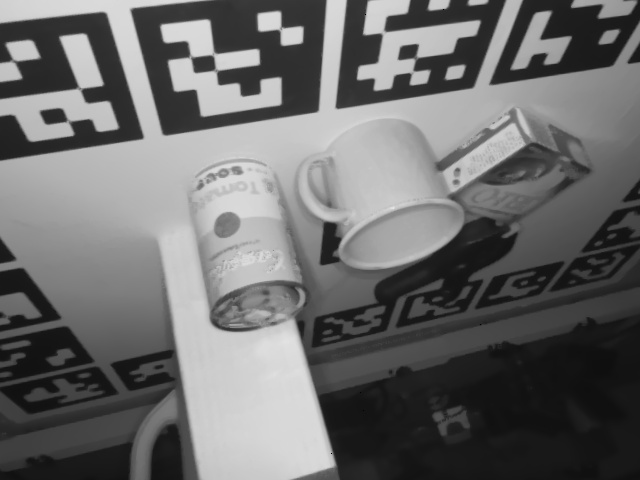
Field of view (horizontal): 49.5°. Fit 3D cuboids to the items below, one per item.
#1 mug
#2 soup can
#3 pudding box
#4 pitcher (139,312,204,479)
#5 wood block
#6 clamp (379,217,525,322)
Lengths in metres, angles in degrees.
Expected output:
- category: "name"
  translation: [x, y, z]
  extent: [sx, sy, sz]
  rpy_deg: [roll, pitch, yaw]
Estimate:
- category: "mug"
  translation: [0.047, -0.039, 0.505]
  extent: [0.119, 0.082, 0.092]
  rpy_deg: [12, 139, -40]
- category: "soup can"
  translation: [-0.041, -0.002, 0.497]
  extent: [0.068, 0.102, 0.067]
  rpy_deg: [-12, 145, -8]
- category: "pudding box"
  translation: [0.178, -0.059, 0.584]
  extent: [0.115, 0.039, 0.088]
  rpy_deg: [14, 133, -41]
- category: "pitcher"
  translation: [-0.071, 0.178, 0.625]
  extent: [0.190, 0.243, 0.132]
  rpy_deg: [-13, 149, -11]
- category: "wood block"
  translation: [-0.048, 0.094, 0.539]
  extent: [0.090, 0.207, 0.090]
  rpy_deg: [-9, 147, -5]
- category: "clamp"
  translation: [0.151, 0.031, 0.714]
  extent: [0.123, 0.037, 0.162]
  rpy_deg: [14, 136, -29]
